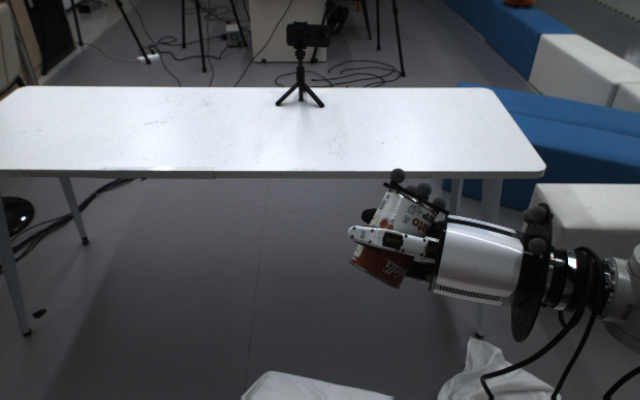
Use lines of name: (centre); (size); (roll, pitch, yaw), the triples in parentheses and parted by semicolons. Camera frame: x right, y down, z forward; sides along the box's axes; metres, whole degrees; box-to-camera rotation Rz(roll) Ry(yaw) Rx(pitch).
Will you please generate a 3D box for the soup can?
soup can: (0.090, 0.046, 0.580); (0.067, 0.101, 0.067); (28, -3, 1)
